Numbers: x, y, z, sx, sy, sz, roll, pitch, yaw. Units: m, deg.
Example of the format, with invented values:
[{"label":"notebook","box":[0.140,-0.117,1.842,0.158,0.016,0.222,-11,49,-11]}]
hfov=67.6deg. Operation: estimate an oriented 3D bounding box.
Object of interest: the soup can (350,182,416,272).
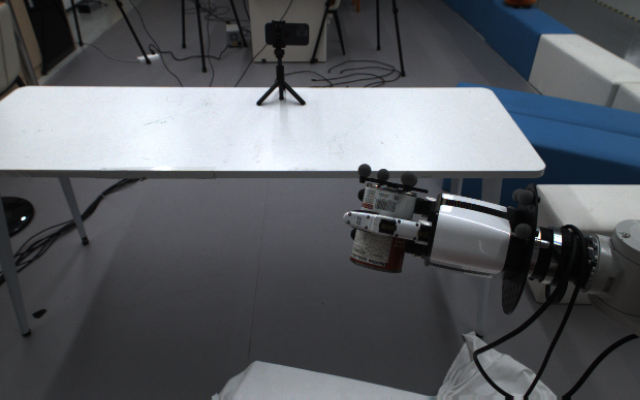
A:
[{"label":"soup can","box":[0.083,0.035,0.616,0.067,0.101,0.067,12,2,0]}]
